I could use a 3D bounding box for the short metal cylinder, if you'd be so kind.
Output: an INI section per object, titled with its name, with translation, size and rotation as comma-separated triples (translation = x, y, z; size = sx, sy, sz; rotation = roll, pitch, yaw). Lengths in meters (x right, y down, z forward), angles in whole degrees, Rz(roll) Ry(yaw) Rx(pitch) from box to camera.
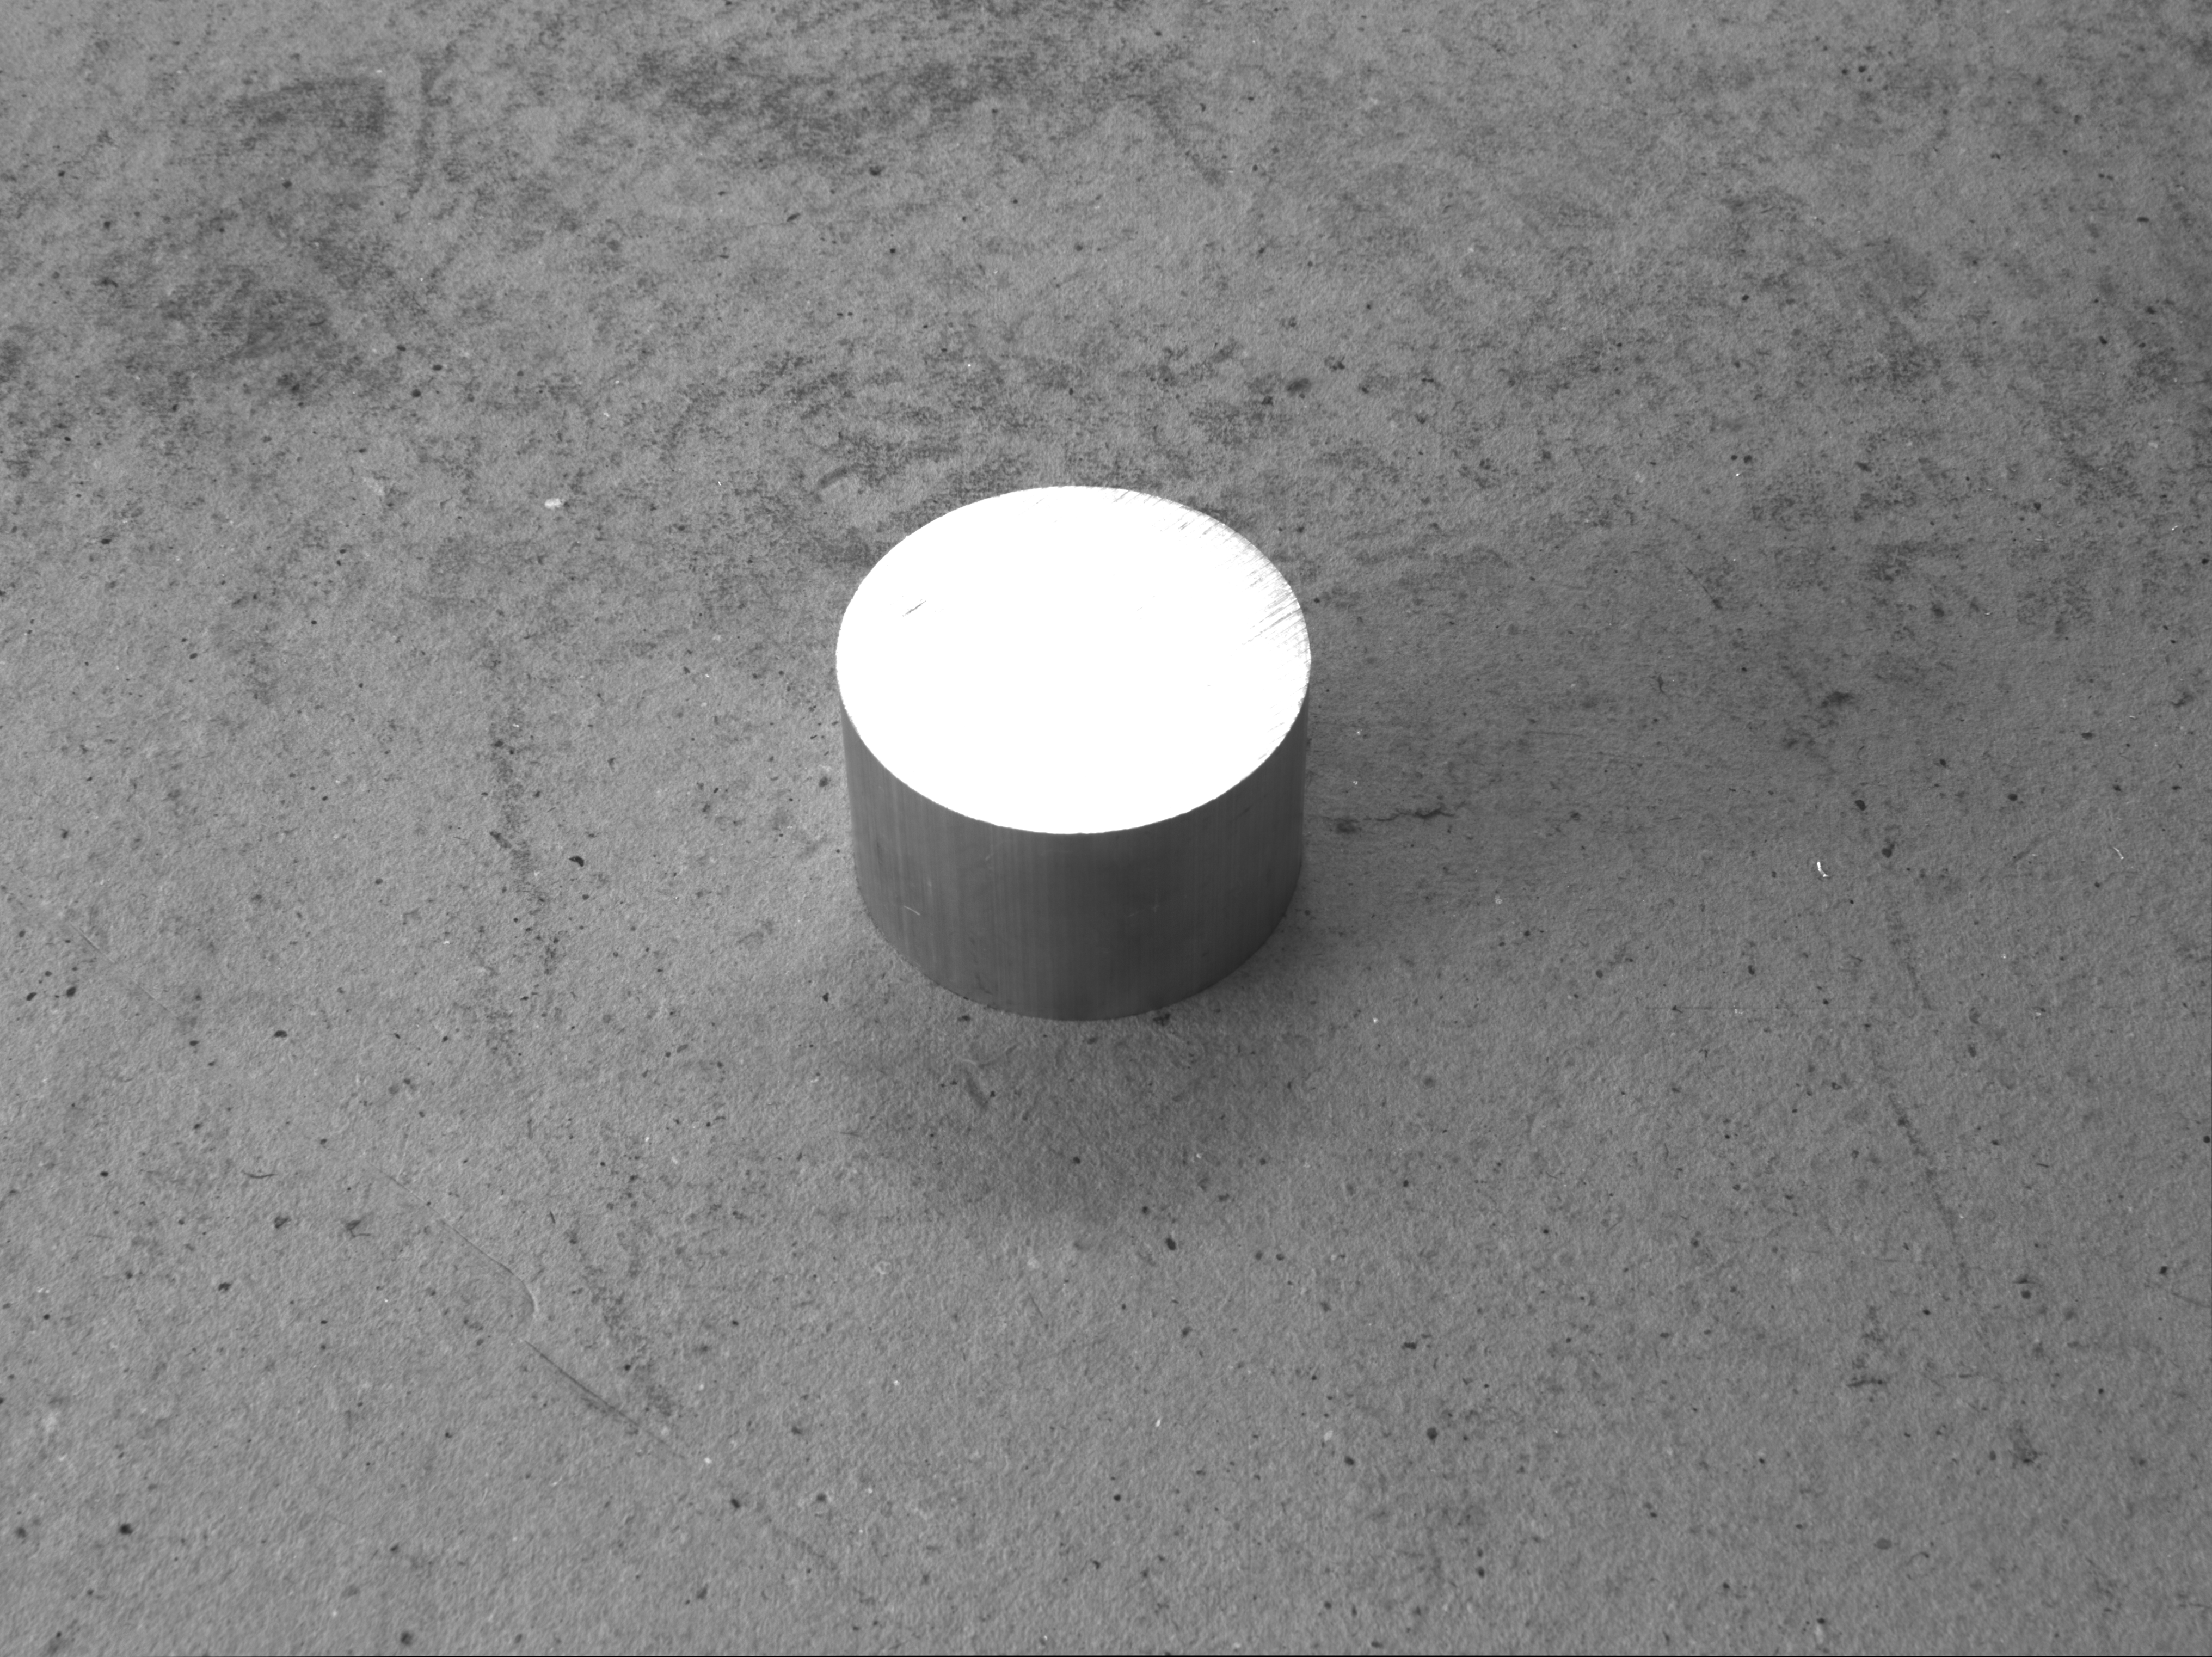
[short metal cylinder]
translation = -0.006, -0.013, 0.638
size = 0.080, 0.050, 0.080
rotation = 1, 50, -1
